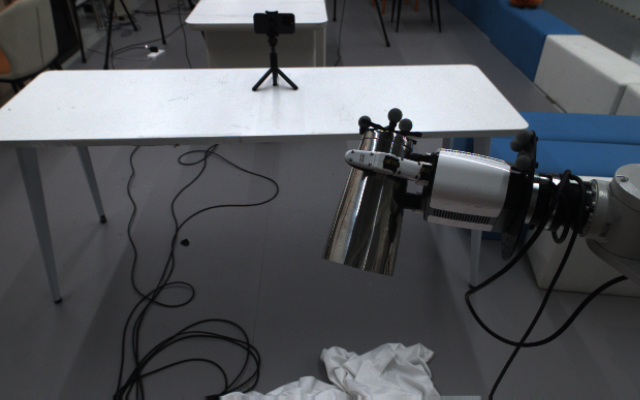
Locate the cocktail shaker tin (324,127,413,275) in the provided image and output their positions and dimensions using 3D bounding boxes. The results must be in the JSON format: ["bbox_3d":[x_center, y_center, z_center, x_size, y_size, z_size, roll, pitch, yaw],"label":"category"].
[{"bbox_3d":[0.069,0.000,0.617,0.093,0.170,0.093,15,-5,1],"label":"cocktail shaker tin"}]
